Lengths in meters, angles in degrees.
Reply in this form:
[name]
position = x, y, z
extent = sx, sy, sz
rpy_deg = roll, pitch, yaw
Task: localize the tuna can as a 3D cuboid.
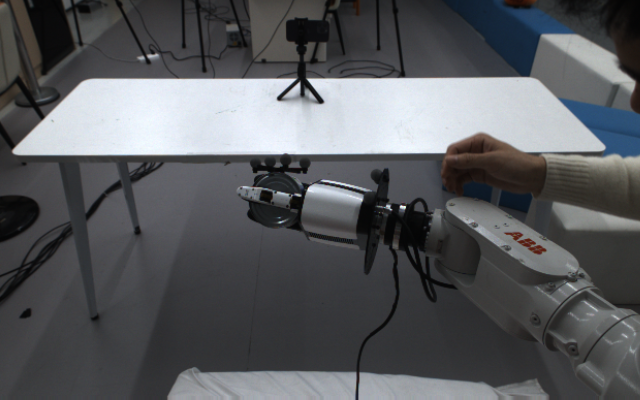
[tuna can]
position = -0.063, 0.001, 0.743
extent = 0.085, 0.085, 0.034
rpy_deg = 12, -1, 14
